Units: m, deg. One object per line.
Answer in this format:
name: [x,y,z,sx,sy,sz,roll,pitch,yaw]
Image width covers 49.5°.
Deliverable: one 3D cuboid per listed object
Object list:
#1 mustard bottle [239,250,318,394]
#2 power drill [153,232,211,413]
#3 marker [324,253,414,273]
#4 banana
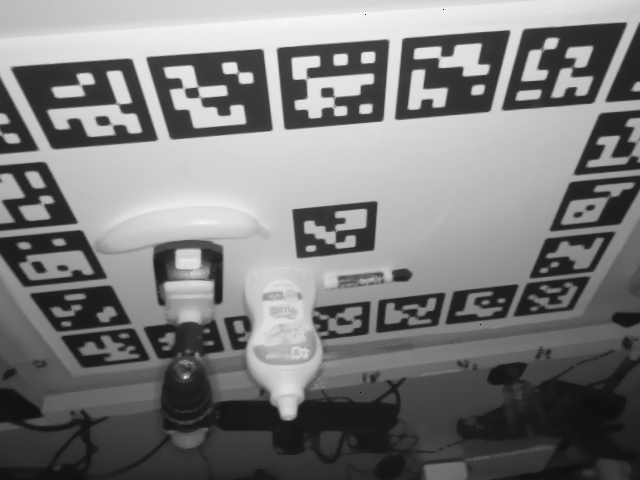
mustard bottle: [-0.052,0.101,0.860,0.097,0.192,0.057,3,138,-11]
power drill: [-0.157,0.082,0.794,0.058,0.188,0.182,5,140,-11]
marker: [0.066,0.031,0.933,0.121,0.020,0.019,-4,138,-5]
banana: [-0.159,-0.048,0.791,0.199,0.039,0.073,-1,137,-11]
